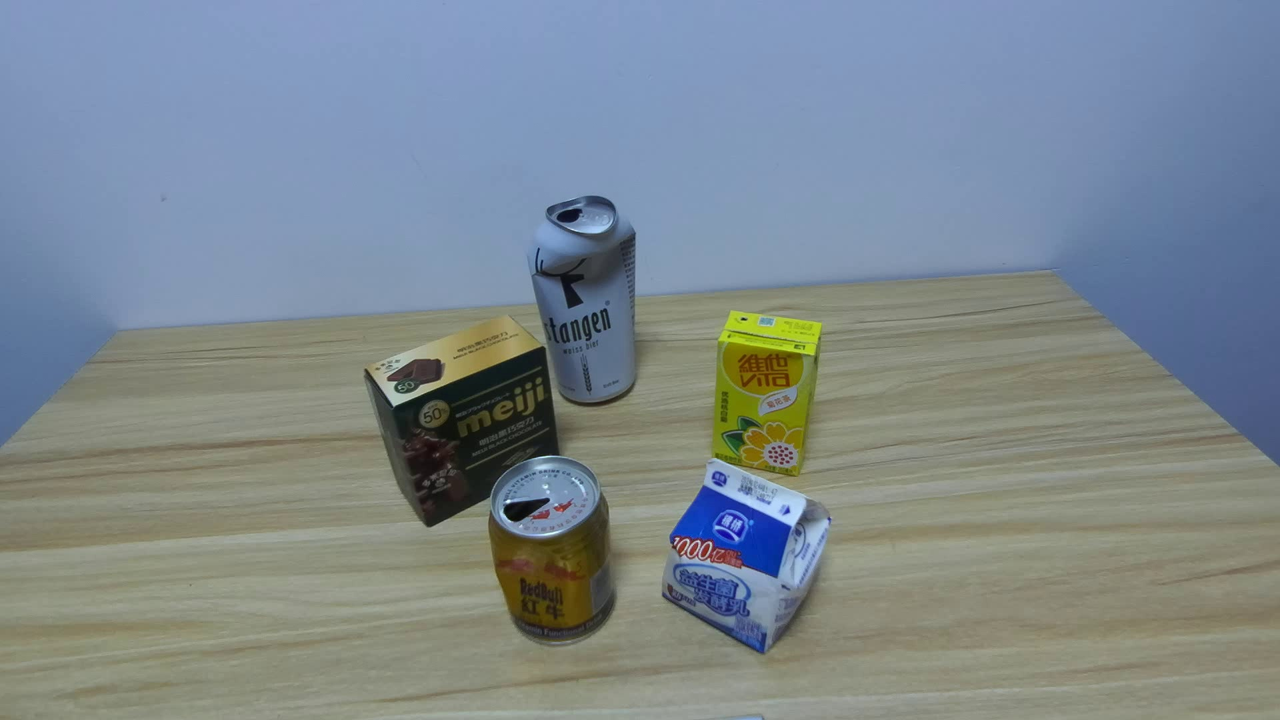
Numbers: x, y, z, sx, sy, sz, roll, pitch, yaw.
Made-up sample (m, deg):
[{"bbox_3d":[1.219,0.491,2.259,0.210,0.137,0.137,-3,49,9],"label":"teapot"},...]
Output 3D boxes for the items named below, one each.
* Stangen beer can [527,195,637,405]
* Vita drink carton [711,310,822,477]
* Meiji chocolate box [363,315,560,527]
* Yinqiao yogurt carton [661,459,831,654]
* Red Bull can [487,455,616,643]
[{"bbox_3d":[-0.040,-0.043,0.557,0.065,0.162,0.077,7,36,15],"label":"Stangen beer can"},{"bbox_3d":[0.088,0.024,0.497,0.066,0.109,0.043,10,37,15],"label":"Vita drink carton"},{"bbox_3d":[-0.119,0.042,0.493,0.110,0.109,0.056,-24,40,-28],"label":"Meiji chocolate box"},{"bbox_3d":[0.064,0.100,0.405,0.083,0.093,0.077,21,41,31],"label":"Yinqiao yogurt carton"},{"bbox_3d":[-0.049,0.108,0.403,0.069,0.092,0.069,-2,36,1],"label":"Red Bull can"}]
